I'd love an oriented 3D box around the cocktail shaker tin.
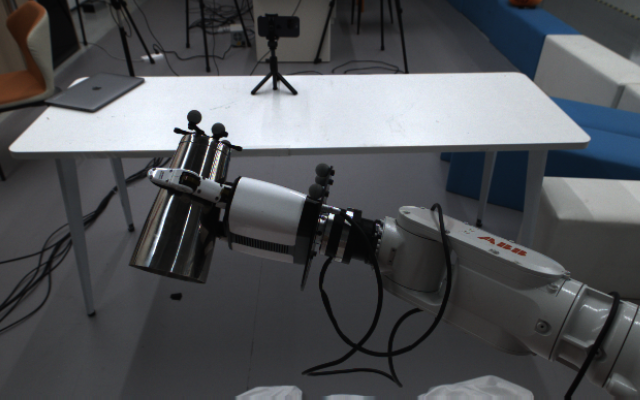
[{"bbox_3d":[-0.164,0.010,0.597,0.093,0.093,0.170,10,74,11],"label":"cocktail shaker tin"}]
